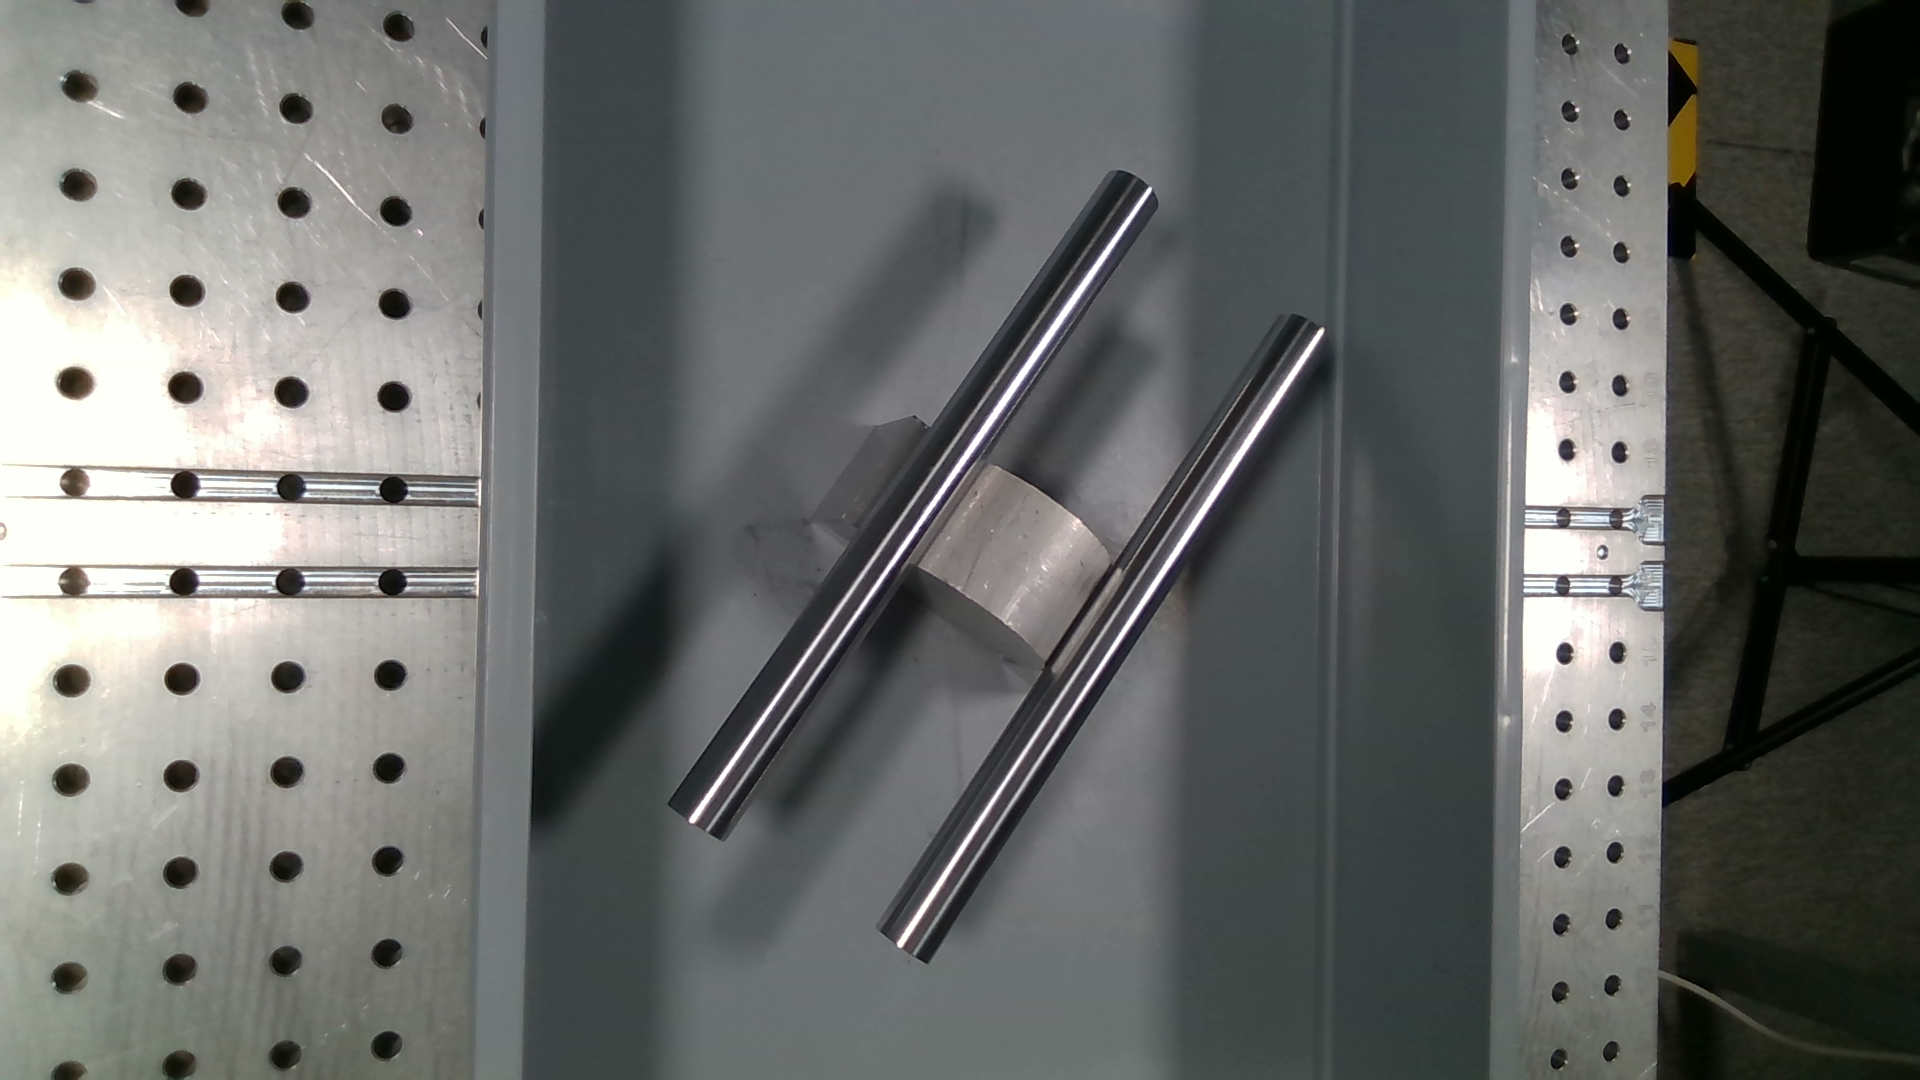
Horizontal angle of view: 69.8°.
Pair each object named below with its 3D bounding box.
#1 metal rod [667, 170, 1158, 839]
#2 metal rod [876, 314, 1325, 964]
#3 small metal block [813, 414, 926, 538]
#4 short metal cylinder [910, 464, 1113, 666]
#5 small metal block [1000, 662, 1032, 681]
[{"bbox_3d":[-0.013,-0.020,0.528,0.025,0.025,0.300,38,78,-16],"label":"metal rod"},{"bbox_3d":[0.061,0.033,0.554,0.025,0.025,0.300,38,78,-16],"label":"metal rod"},{"bbox_3d":[-0.031,-0.022,0.560,0.025,0.050,0.050,38,78,-16],"label":"small metal block"},{"bbox_3d":[0.015,0.009,0.561,0.080,0.080,0.050,38,78,-16],"label":"short metal cylinder"},{"bbox_3d":[0.050,0.041,0.589,0.025,0.050,0.050,38,78,-16],"label":"small metal block"}]
